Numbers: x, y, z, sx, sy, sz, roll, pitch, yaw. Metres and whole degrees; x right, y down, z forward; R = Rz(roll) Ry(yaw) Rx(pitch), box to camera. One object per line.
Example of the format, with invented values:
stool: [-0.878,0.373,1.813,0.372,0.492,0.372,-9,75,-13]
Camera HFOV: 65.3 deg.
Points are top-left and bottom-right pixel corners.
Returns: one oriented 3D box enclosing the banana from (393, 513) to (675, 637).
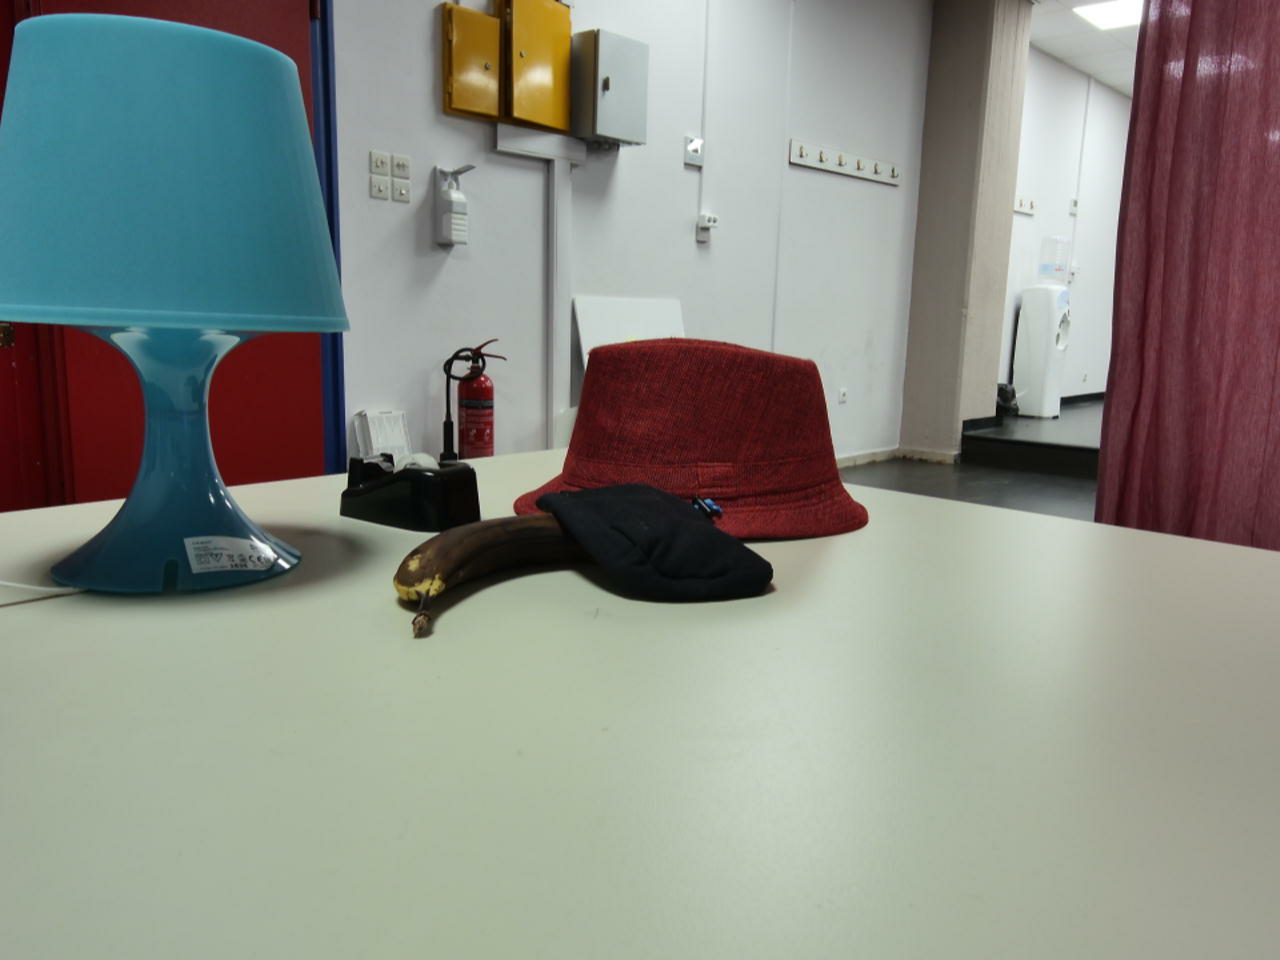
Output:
banana: [-0.072,0.042,0.570,0.091,0.033,0.188,7,11,43]
